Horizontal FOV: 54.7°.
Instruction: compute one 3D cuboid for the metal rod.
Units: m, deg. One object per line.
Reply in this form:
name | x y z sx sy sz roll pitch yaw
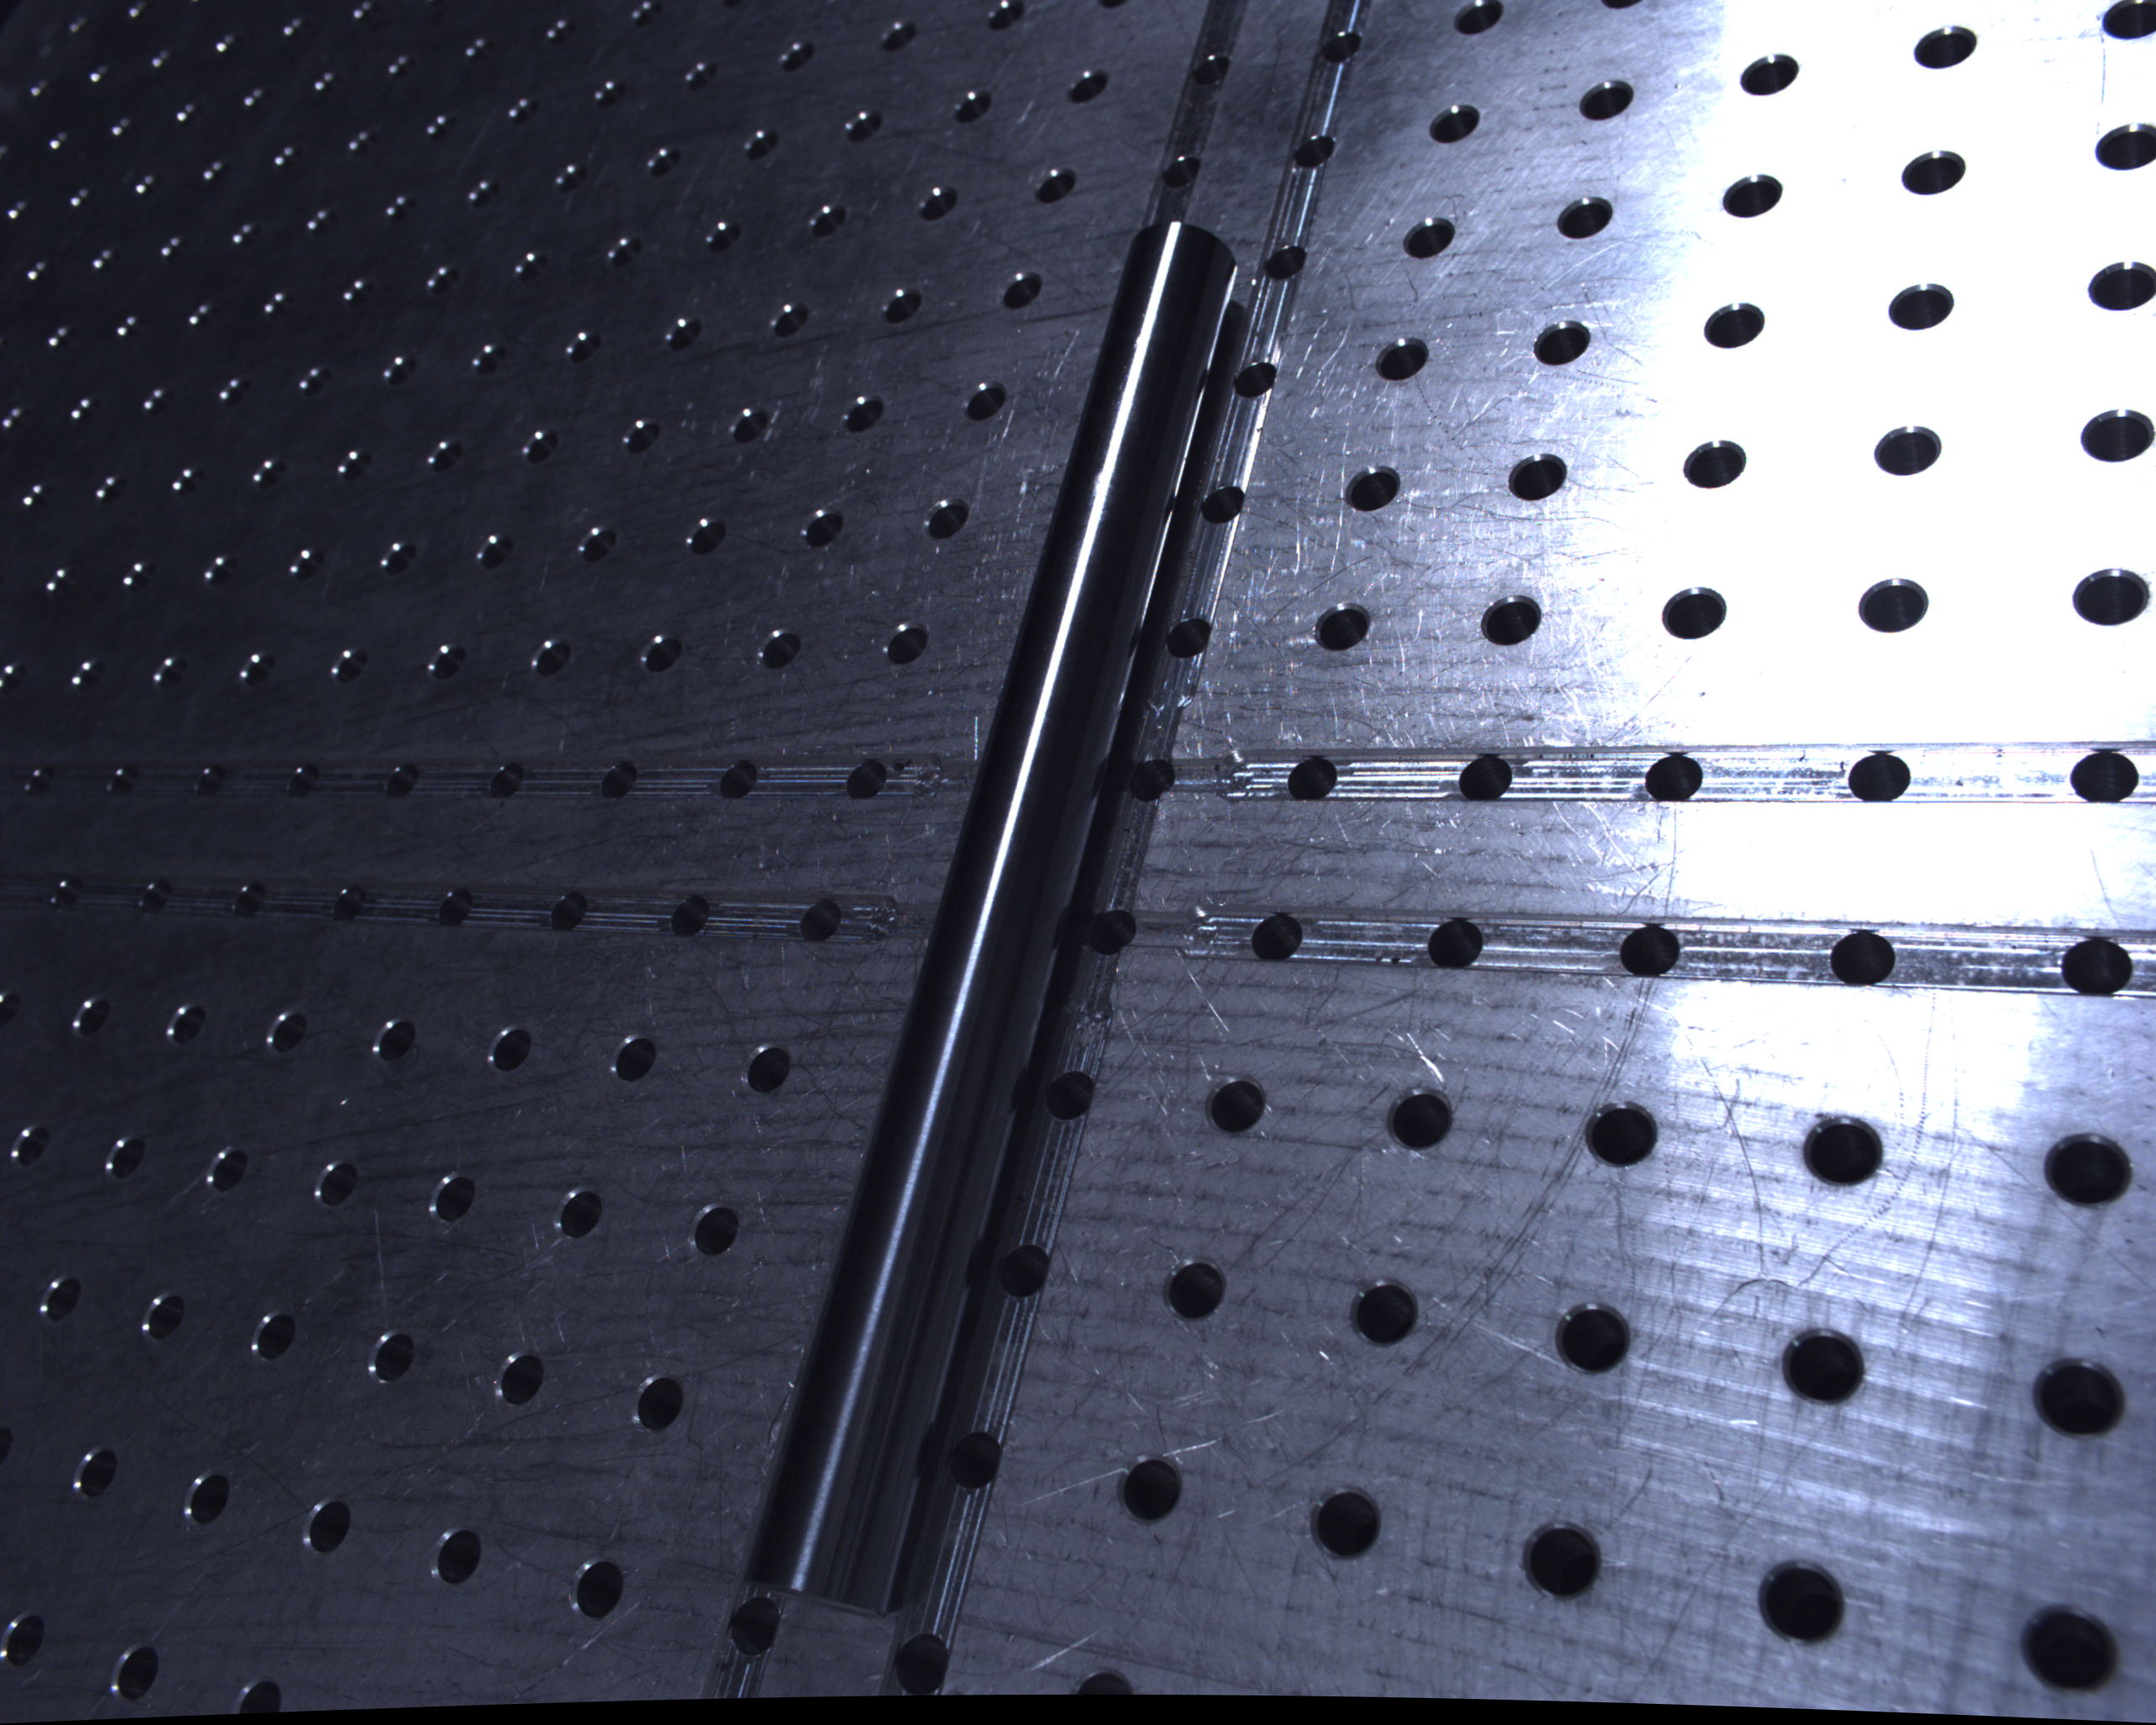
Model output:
metal rod | -0.010 -0.007 0.416 0.025 0.025 0.300 1 62 28
